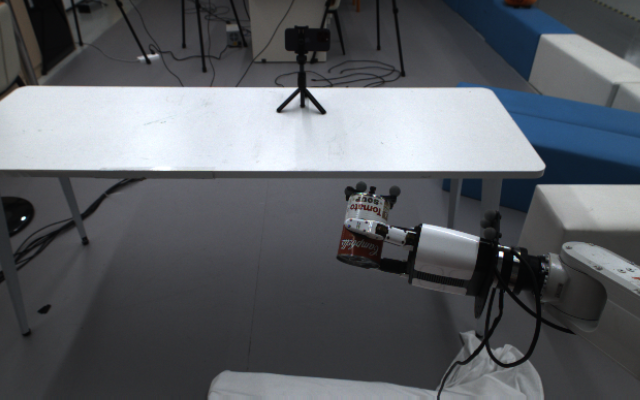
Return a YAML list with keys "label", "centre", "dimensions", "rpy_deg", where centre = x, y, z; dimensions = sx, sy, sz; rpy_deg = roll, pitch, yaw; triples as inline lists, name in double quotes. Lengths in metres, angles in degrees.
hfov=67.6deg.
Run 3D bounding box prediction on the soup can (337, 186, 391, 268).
- label: "soup can"
  centre: [0.069, 0.046, 0.747]
  dimensions: [0.067, 0.067, 0.101]
  rpy_deg: [9, 72, 10]
